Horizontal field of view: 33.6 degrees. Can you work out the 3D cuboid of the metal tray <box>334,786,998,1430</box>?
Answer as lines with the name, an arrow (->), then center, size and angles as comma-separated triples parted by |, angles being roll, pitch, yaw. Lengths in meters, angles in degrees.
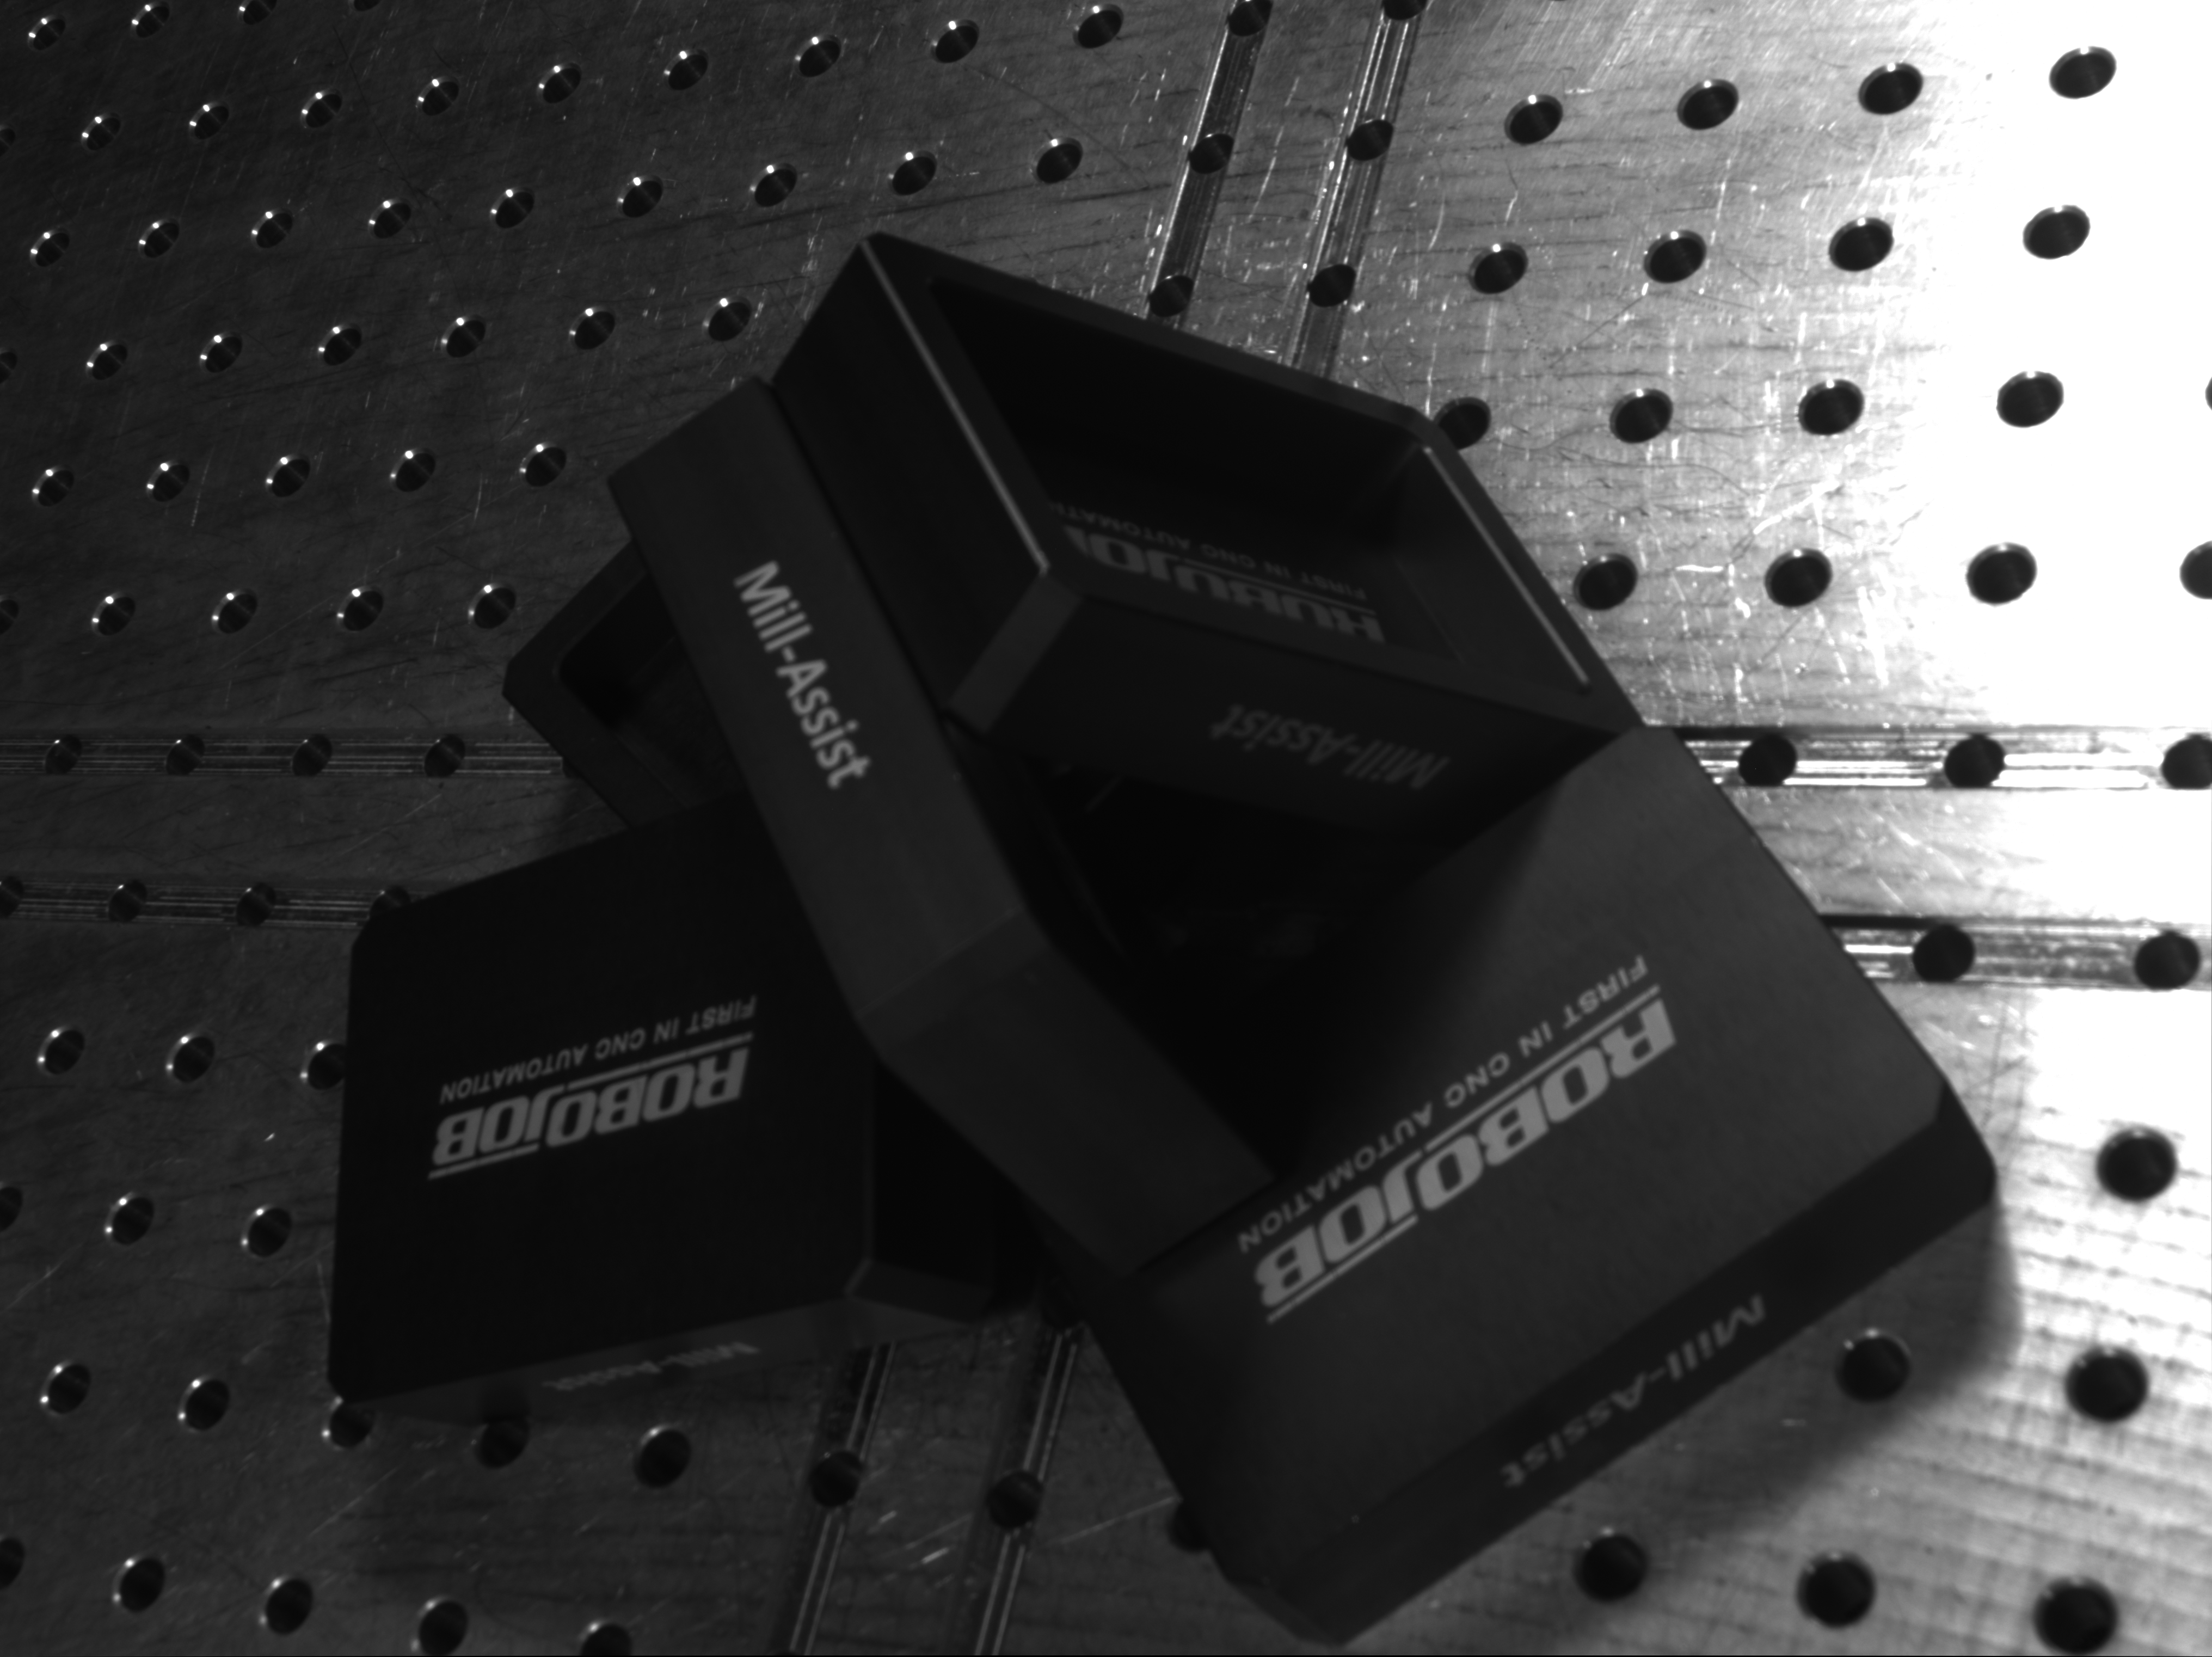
metal tray -> -0.076, 0.048, 0.625 | 0.130, 0.030, 0.090 | -17, 64, 37

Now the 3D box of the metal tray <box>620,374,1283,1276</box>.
metal tray -> -0.025, -0.002, 0.580 | 0.030, 0.090, 0.130 | -33, 51, 7

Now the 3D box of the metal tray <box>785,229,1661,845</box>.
metal tray -> 0.020, -0.045, 0.596 | 0.030, 0.130, 0.090 | -53, 45, 28

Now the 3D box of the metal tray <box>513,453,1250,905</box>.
metal tray -> -0.042, -0.020, 0.679 | 0.090, 0.030, 0.130 | -45, 51, -3

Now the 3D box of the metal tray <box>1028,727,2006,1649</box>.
metal tray -> 0.062, 0.055, 0.575 | 0.130, 0.030, 0.090 | -36, 51, 5
